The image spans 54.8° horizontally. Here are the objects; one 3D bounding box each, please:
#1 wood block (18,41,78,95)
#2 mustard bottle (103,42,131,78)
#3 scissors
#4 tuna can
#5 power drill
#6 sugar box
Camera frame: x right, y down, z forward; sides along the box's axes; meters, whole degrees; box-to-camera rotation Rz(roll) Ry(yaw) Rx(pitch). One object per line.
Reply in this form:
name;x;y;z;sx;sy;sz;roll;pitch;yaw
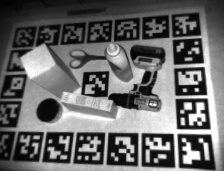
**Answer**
wood block;-0.207;-0.050;0.736;0.091;0.208;0.089;-29;69;3
mustard bottle;0.009;-0.092;0.711;0.058;0.193;0.095;-40;69;-1
scissors;-0.106;-0.122;0.829;0.201;0.016;0.087;0;69;12
tuna can;-0.236;0.076;0.780;0.085;0.034;0.085;-3;73;10
power drill;0.066;-0.027;0.741;0.183;0.058;0.187;11;82;15
sugar box;-0.079;0.056;0.728;0.175;0.093;0.045;10;72;13
